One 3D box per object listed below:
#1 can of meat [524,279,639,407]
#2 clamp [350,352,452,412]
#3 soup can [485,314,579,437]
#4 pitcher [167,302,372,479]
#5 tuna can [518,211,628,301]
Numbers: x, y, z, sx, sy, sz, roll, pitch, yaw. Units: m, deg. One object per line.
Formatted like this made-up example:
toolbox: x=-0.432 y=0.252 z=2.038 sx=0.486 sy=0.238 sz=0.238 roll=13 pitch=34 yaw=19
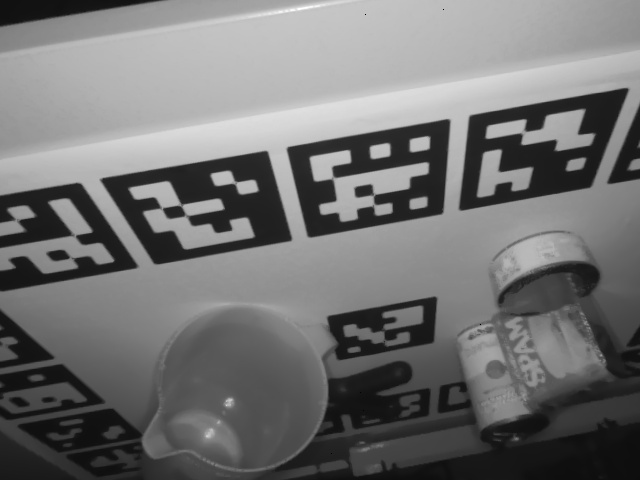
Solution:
can of meat: x=0.249 y=0.088 z=0.635 sx=0.082 sy=0.102 sz=0.058 roll=-37 pitch=132 yaw=26
clamp: x=0.061 y=0.164 z=0.764 sx=0.165 sy=0.037 sz=0.121 roll=-6 pitch=146 yaw=2
soup can: x=0.212 y=0.134 z=0.692 sx=0.068 sy=0.102 sz=0.067 roll=-7 pitch=139 yaw=-5
pitcher: x=-0.059 y=0.164 z=0.641 sx=0.192 sy=0.133 sz=0.239 roll=-16 pitch=154 yaw=-28
tuna can: x=0.215 y=0.014 z=0.595 sx=0.086 sy=0.034 sz=0.085 roll=-6 pitch=140 yaw=-4
